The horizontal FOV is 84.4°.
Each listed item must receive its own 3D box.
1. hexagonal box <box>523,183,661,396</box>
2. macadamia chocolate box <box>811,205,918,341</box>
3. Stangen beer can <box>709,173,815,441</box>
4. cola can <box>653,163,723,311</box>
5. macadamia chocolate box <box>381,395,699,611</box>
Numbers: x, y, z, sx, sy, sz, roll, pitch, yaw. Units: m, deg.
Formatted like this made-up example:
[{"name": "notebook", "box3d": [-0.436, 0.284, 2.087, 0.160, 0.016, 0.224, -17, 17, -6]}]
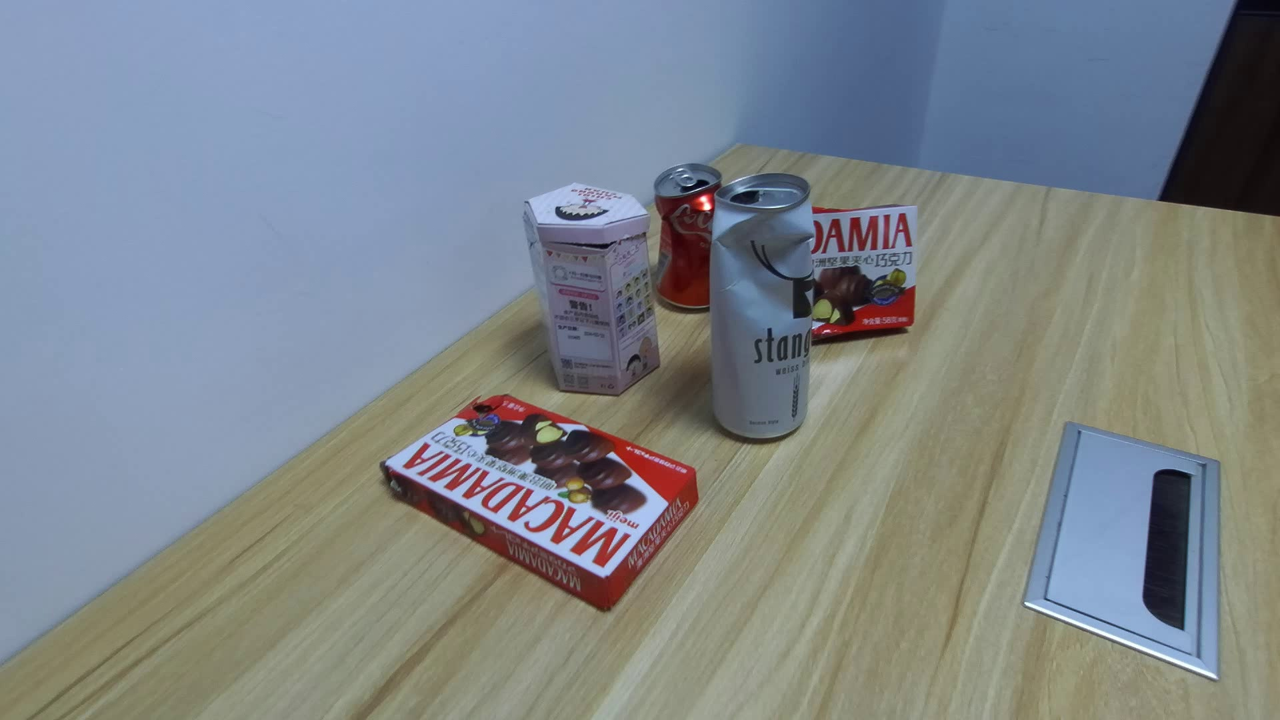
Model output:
[{"name": "hexagonal box", "box3d": [-0.033, -0.051, 0.513, 0.092, 0.135, 0.085, 6, 36, 15]}, {"name": "macadamia chocolate box", "box3d": [0.149, -0.072, 0.540, 0.126, 0.112, 0.056, -7, 34, -4]}, {"name": "Stangen beer can", "box3d": [0.075, -0.029, 0.442, 0.066, 0.166, 0.066, -4, 35, 3]}, {"name": "cola can", "box3d": [0.045, -0.102, 0.588, 0.065, 0.113, 0.069, 3, 35, 13]}, {"name": "macadamia chocolate box", "box3d": [-0.066, 0.073, 0.442, 0.186, 0.027, 0.103, 18, 40, 29]}]
